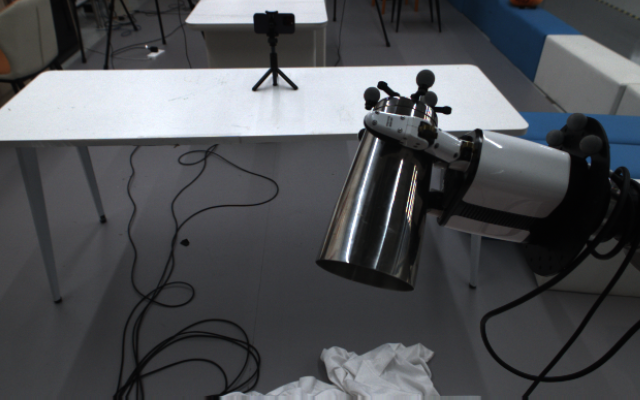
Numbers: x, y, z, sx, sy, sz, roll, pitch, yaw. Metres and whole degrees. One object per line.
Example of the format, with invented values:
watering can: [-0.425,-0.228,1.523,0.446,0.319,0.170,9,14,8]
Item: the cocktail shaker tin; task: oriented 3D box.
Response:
cocktail shaker tin: [0.065,-0.011,0.464,0.093,0.093,0.170,12,72,14]
